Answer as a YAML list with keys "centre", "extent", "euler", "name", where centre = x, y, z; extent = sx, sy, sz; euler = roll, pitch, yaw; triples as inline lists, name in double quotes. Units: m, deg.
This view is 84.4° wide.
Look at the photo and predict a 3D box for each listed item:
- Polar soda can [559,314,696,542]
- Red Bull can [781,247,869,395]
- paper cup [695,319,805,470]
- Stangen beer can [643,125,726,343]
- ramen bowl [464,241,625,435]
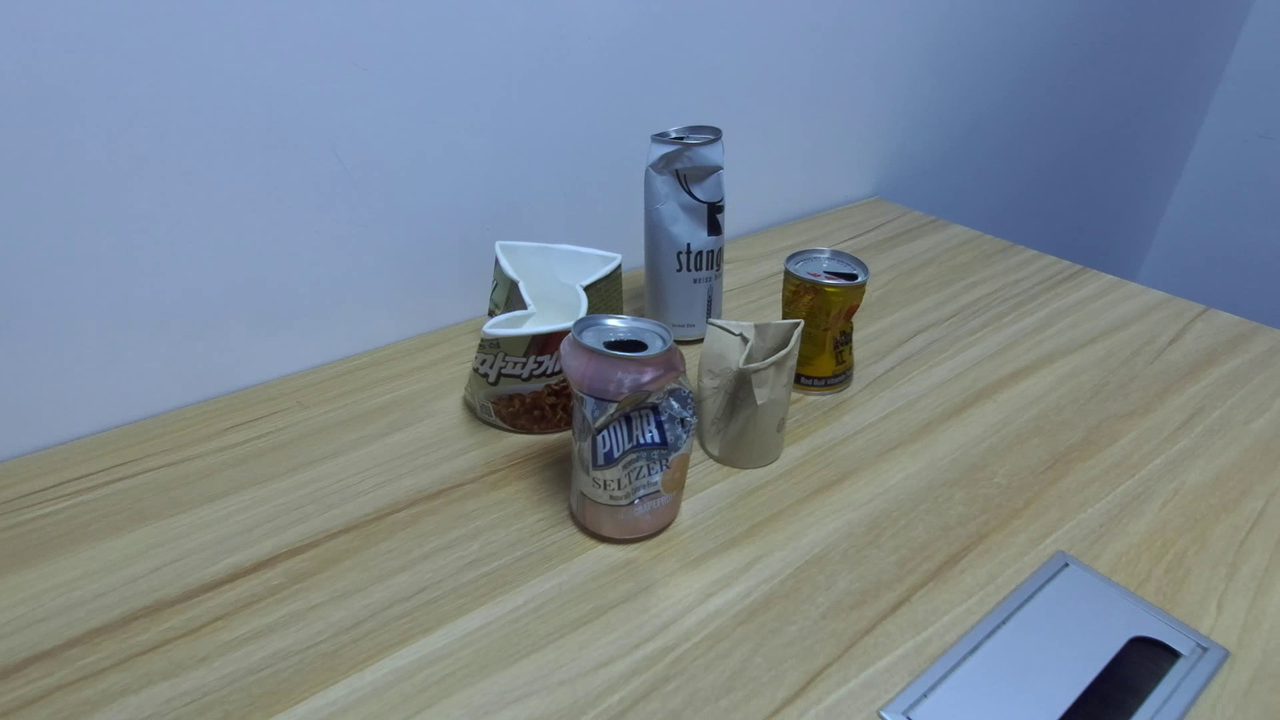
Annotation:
- centre: [-0.007, 0.036, 0.396]
  extent: [0.071, 0.122, 0.066]
  euler: [-11, 29, -19]
  name: "Polar soda can"
- centre: [0.130, -0.029, 0.521]
  extent: [0.072, 0.092, 0.072]
  euler: [1, 32, 0]
  name: "Red Bull can"
- centre: [0.065, 0.020, 0.453]
  extent: [0.058, 0.083, 0.066]
  euler: [12, 33, 22]
  name: "paper cup"
- centre: [0.035, -0.098, 0.562]
  extent: [0.066, 0.166, 0.066]
  euler: [-2, 32, 1]
  name: "Stangen beer can"
- centre: [-0.073, -0.014, 0.497]
  extent: [0.111, 0.093, 0.128]
  euler: [7, 34, 10]
  name: "ramen bowl"
